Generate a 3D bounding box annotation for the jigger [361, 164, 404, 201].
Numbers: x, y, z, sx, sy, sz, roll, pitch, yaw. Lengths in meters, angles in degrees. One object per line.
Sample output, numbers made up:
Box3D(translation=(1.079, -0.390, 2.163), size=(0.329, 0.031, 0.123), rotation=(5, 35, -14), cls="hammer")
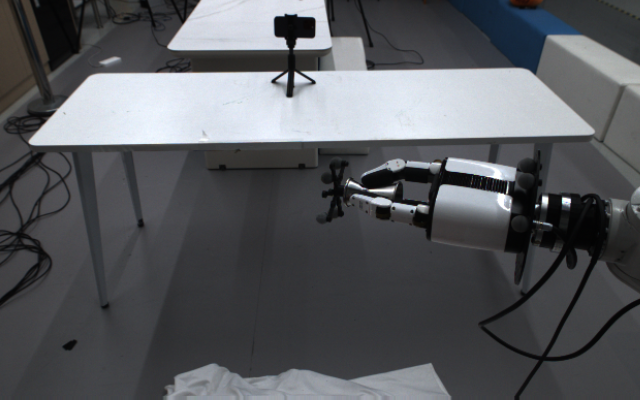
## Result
Box3D(translation=(0.075, -0.009, 0.625), size=(0.071, 0.043, 0.043), rotation=(8, 34, 23), cls="jigger")
